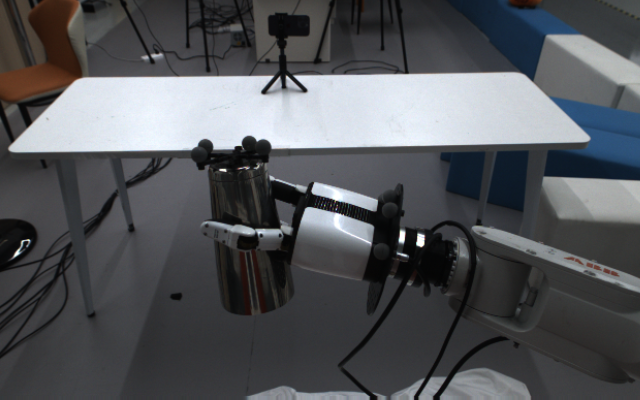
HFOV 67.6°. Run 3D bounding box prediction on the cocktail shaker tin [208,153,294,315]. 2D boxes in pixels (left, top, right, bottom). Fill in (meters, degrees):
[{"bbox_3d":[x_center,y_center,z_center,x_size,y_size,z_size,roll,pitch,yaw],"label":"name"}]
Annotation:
[{"bbox_3d":[-0.085,0.039,0.573,0.093,0.170,0.093,-6,19,2],"label":"cocktail shaker tin"}]
